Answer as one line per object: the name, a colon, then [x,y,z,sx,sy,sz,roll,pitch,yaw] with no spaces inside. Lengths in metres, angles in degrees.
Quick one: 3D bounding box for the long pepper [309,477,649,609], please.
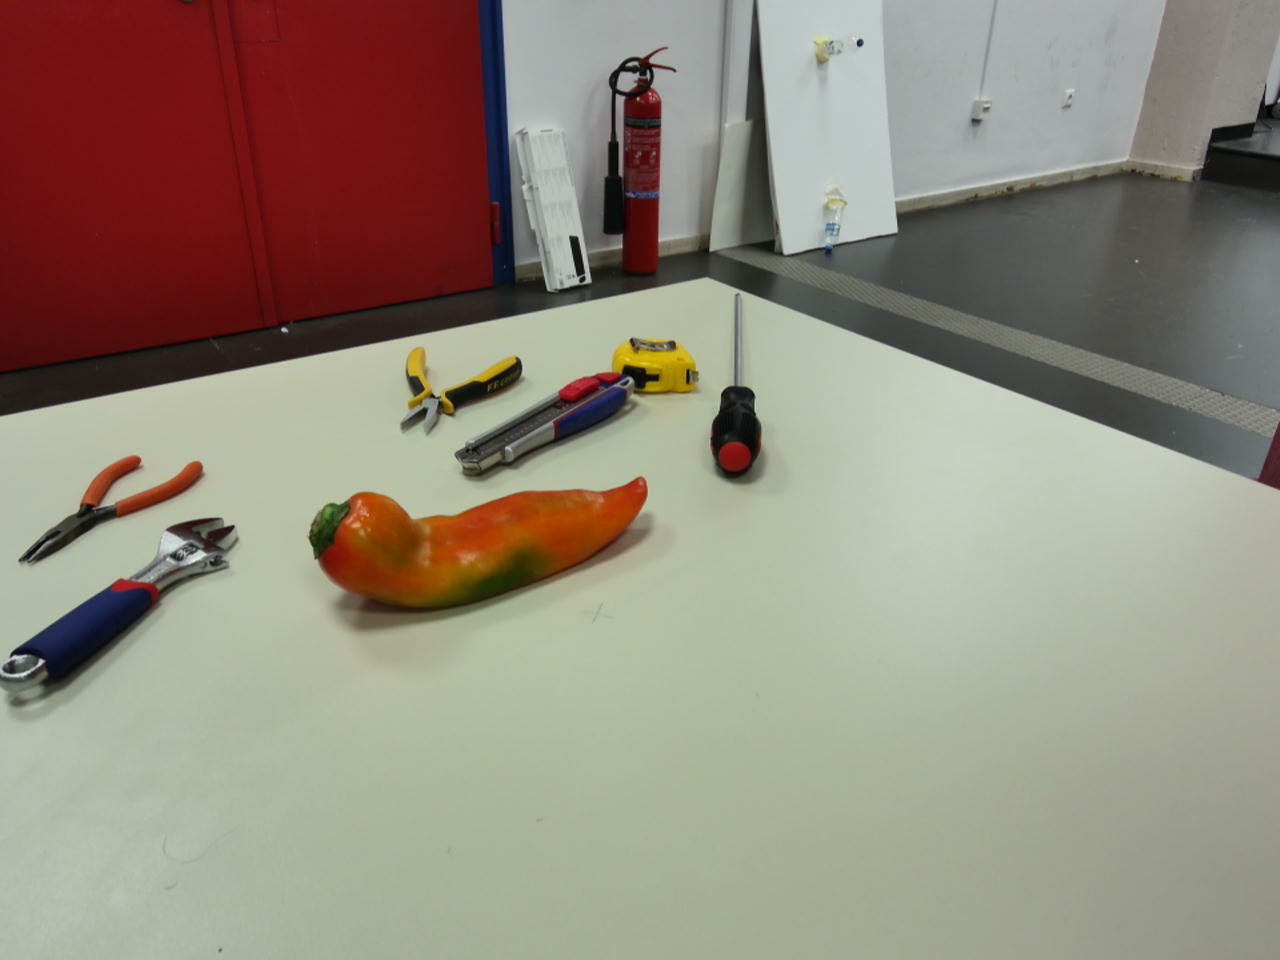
long pepper: [-0.077,0.021,0.547,0.199,0.065,0.066,-15,30,-28]
